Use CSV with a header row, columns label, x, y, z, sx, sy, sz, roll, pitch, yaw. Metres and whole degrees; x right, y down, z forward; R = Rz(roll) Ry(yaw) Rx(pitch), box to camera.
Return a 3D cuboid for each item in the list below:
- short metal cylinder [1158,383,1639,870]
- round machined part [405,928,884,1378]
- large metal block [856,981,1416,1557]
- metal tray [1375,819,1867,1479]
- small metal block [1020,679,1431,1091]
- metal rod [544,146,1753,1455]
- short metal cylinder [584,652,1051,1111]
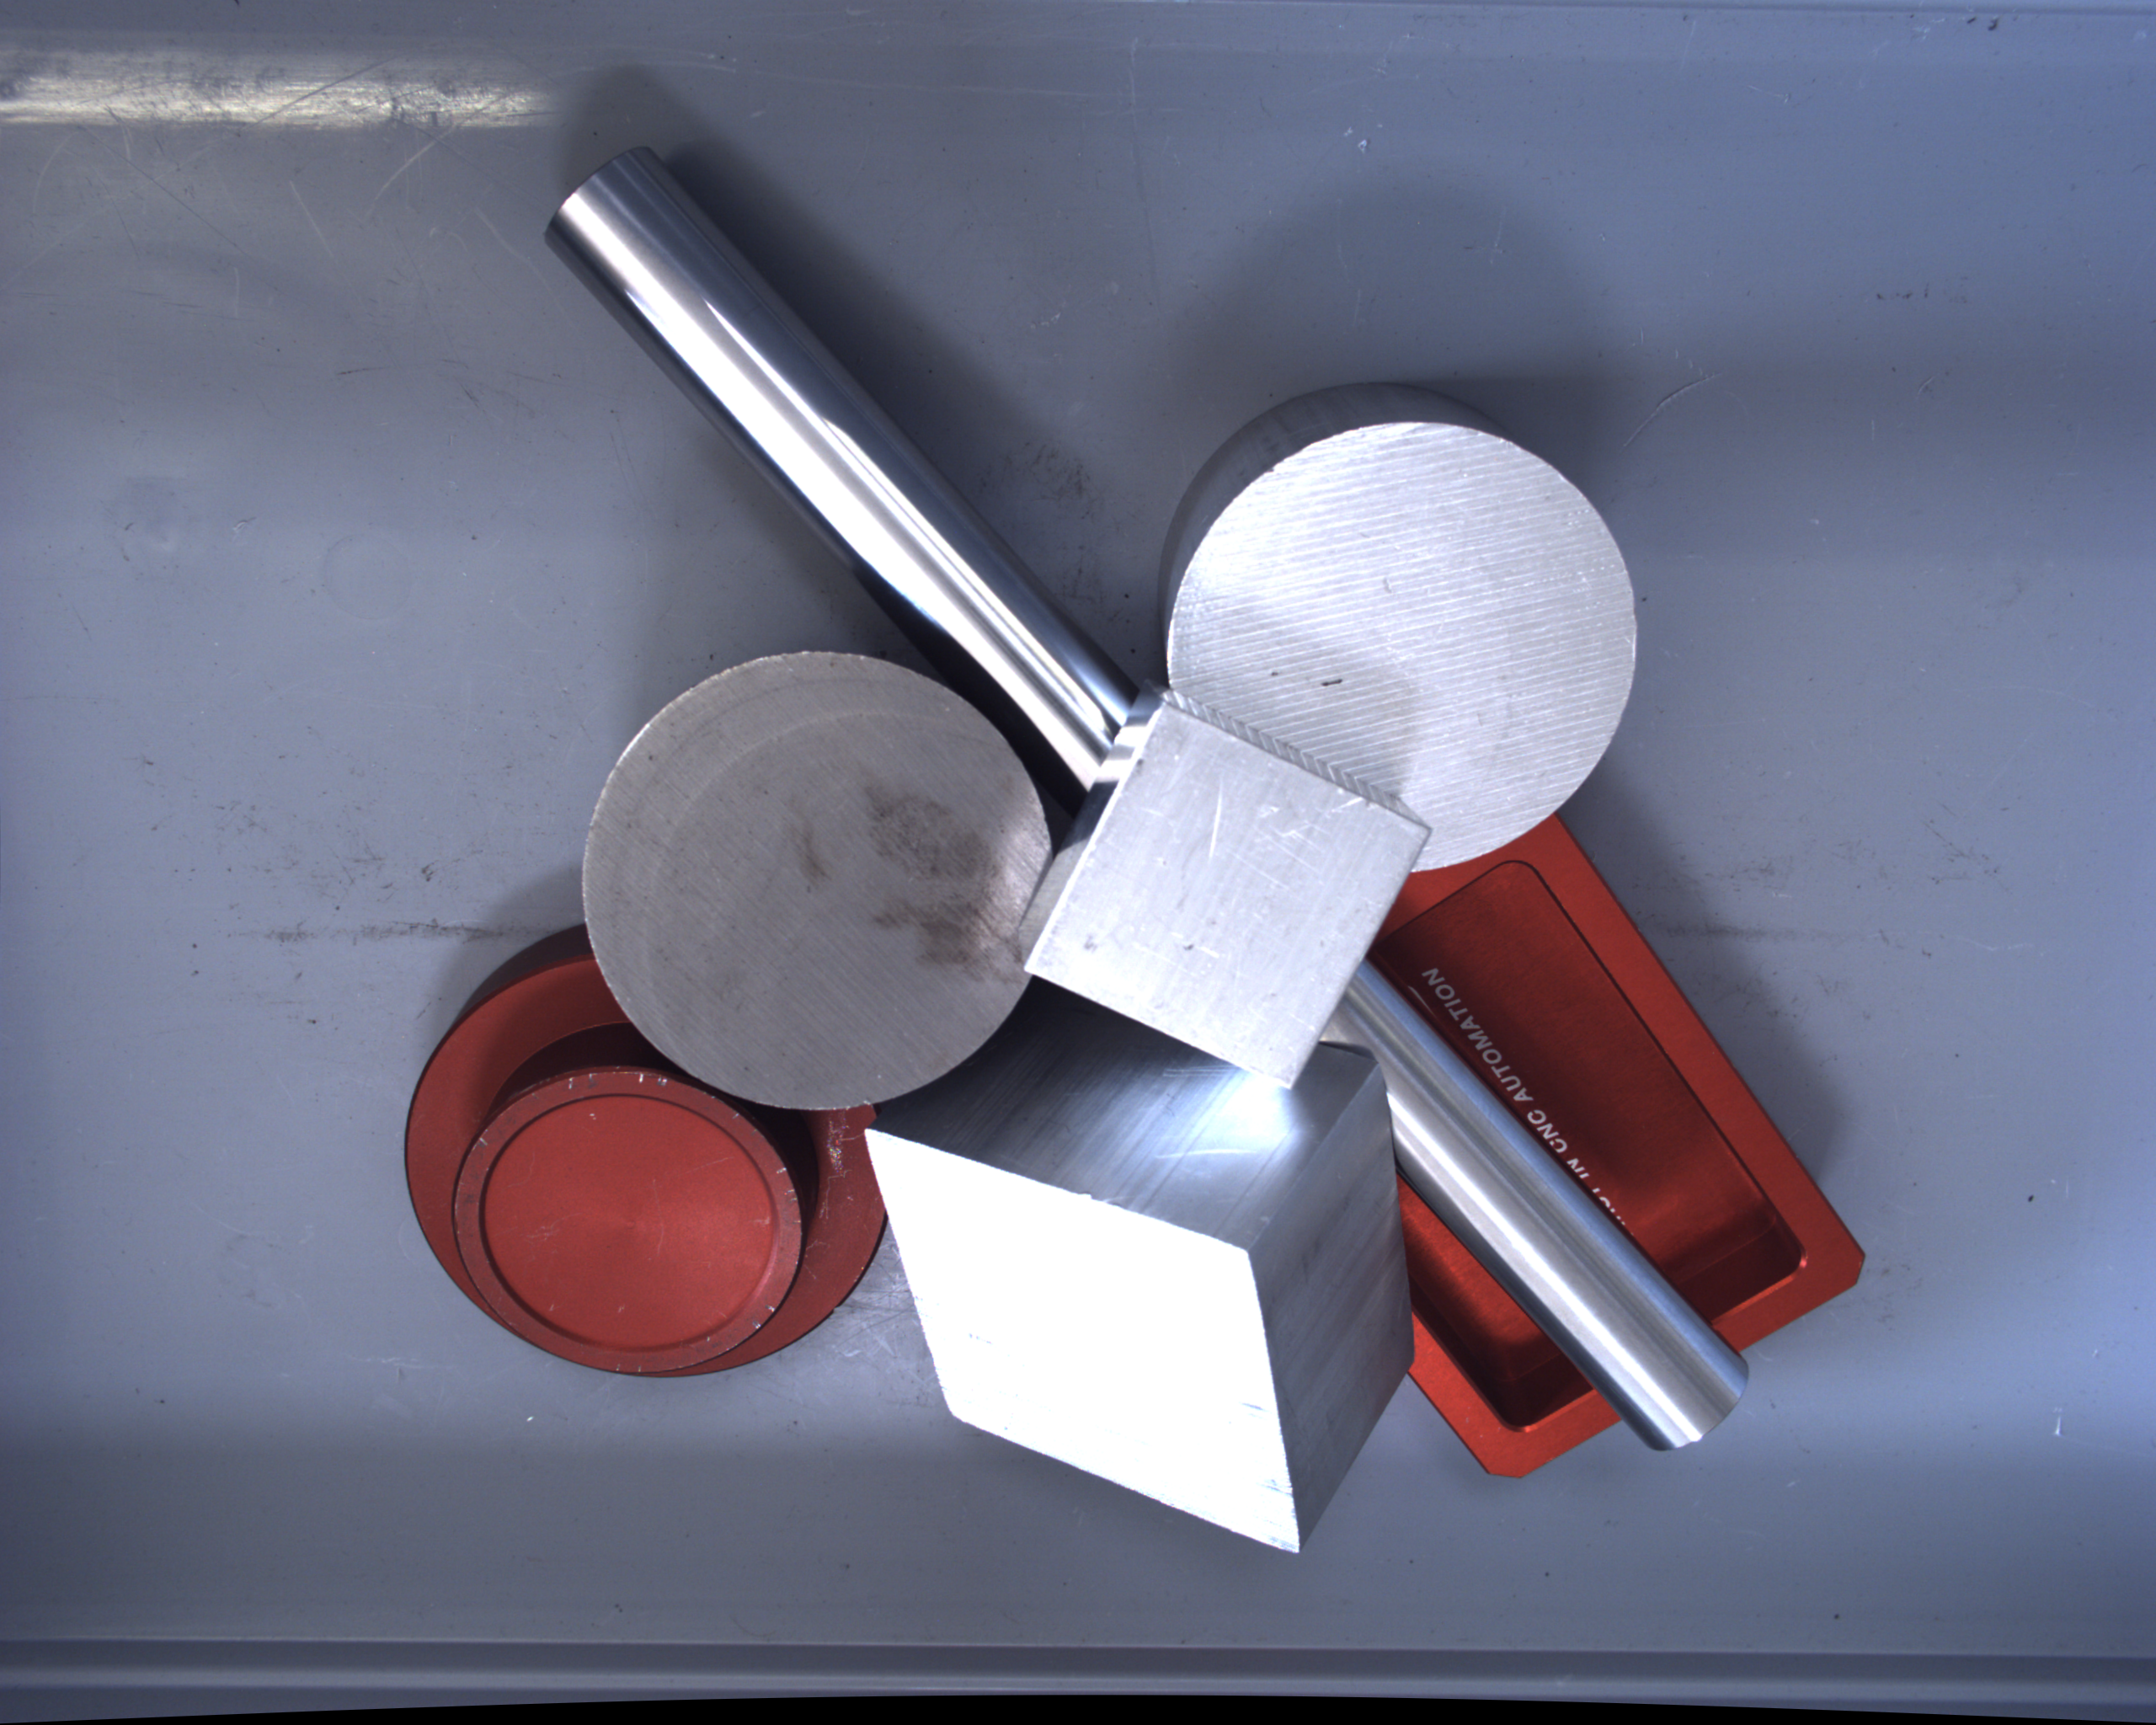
label,x,y,z,sx,sy,sz,roll,pitch,yaw
short metal cylinder,0.056,-0.044,0.381,0.081,0.050,0.079,0,110,0
round machined part,-0.087,0.064,0.422,0.099,0.042,0.097,0,110,0
large metal block,0.013,0.073,0.395,0.080,0.050,0.080,12,131,31
metal tray,0.088,0.055,0.427,0.090,0.030,0.130,-35,107,11
small metal block,0.023,0.003,0.354,0.050,0.025,0.050,25,100,-9
metal rod,0.017,-0.007,0.381,0.025,0.025,0.300,-41,96,13
short metal cylinder,-0.048,0.002,0.385,0.081,0.050,0.079,-1,94,-8
